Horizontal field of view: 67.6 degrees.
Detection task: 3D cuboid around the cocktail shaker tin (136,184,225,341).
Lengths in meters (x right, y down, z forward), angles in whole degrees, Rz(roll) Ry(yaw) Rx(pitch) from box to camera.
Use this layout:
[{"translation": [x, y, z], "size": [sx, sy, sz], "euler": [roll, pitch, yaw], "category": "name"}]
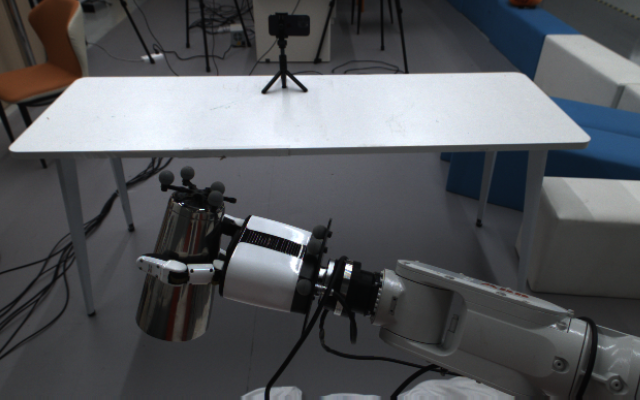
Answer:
[{"translation": [-0.168, 0.078, 0.601], "size": [0.093, 0.170, 0.093], "euler": [15, 18, -5], "category": "cocktail shaker tin"}]
